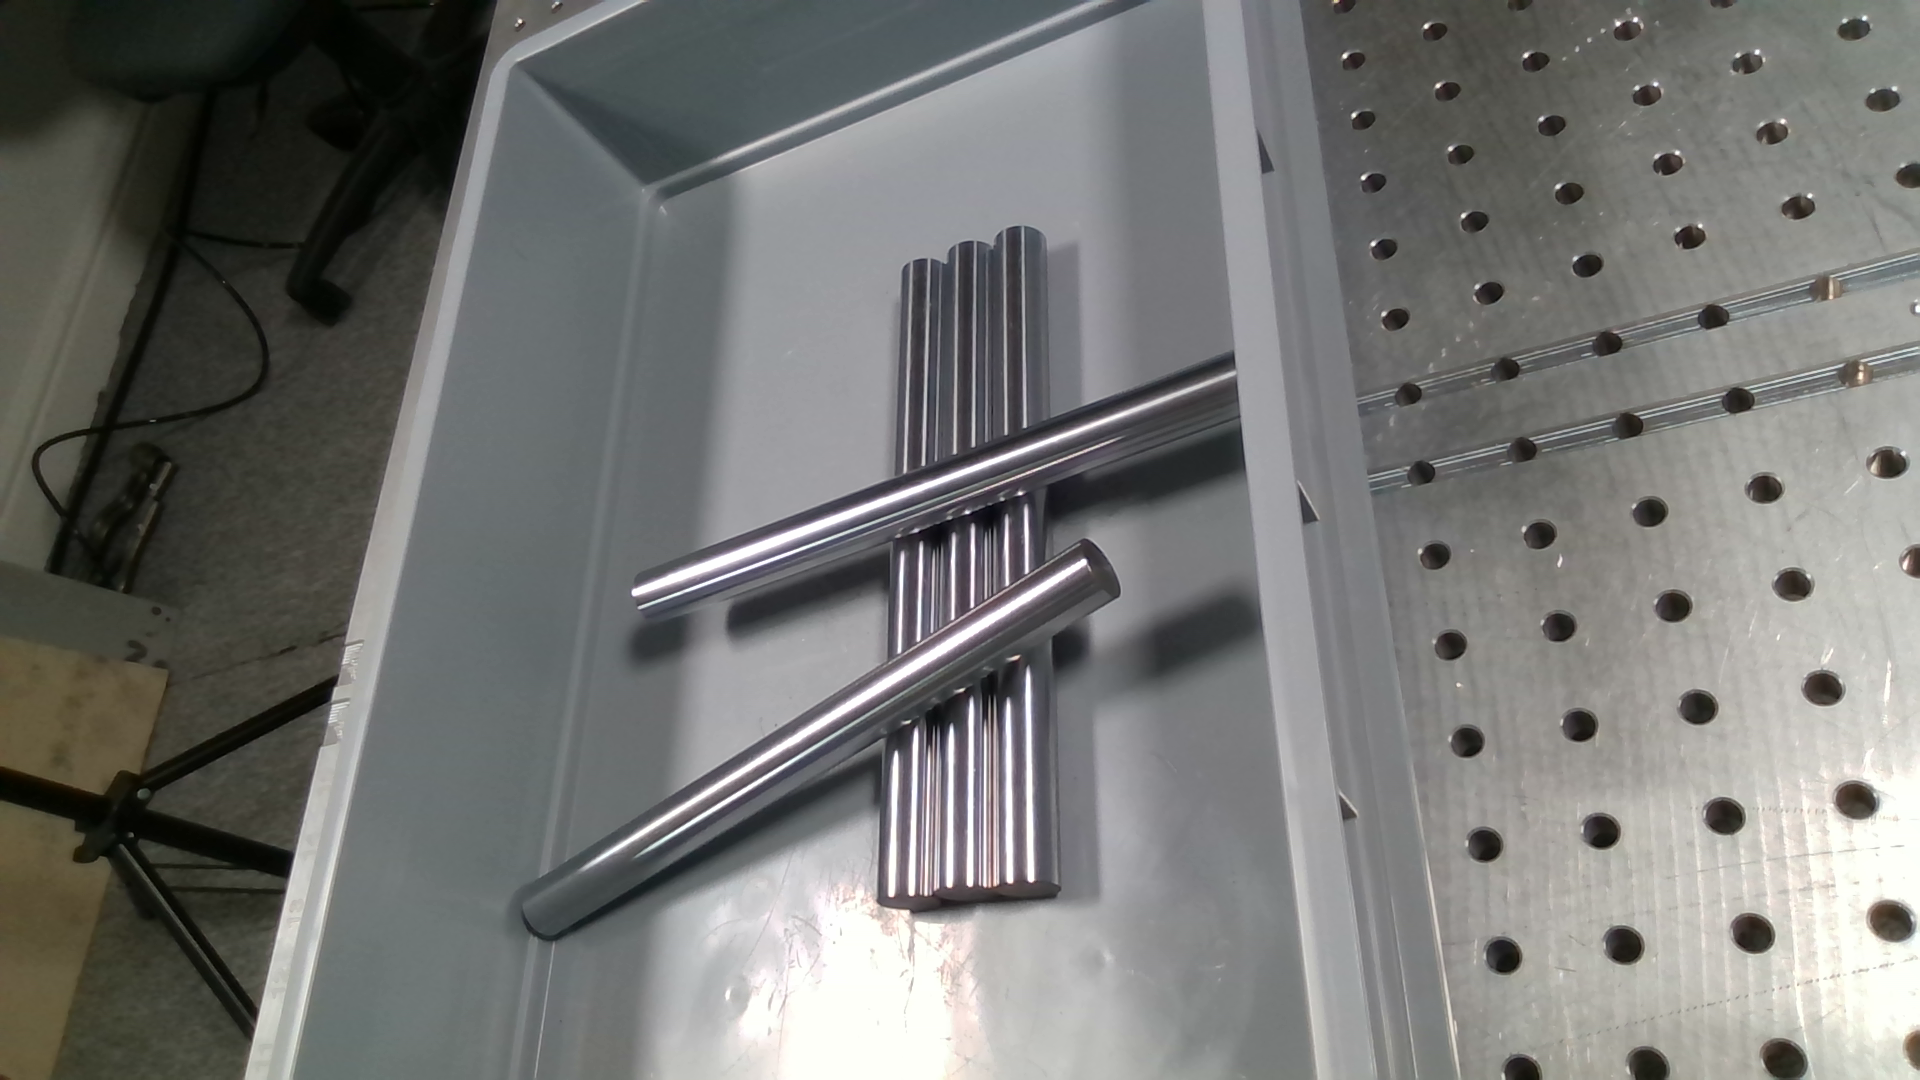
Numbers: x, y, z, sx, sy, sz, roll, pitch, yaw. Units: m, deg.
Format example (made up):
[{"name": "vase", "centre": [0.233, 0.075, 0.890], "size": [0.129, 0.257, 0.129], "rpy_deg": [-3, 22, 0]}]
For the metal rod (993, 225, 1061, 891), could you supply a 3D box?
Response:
[{"name": "metal rod", "centre": [0.026, -0.006, 0.571], "size": [0.025, 0.025, 0.299], "rpy_deg": [-14, 59, 25]}]

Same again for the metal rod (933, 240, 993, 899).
[{"name": "metal rod", "centre": [0.004, -0.001, 0.583], "size": [0.025, 0.025, 0.299], "rpy_deg": [-14, 59, 25]}]

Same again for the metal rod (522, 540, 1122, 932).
[{"name": "metal rod", "centre": [-0.066, 0.086, 0.553], "size": [0.300, 0.025, 0.025], "rpy_deg": [-33, 52, 22]}]

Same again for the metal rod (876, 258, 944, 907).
[{"name": "metal rod", "centre": [-0.018, 0.005, 0.593], "size": [0.025, 0.025, 0.299], "rpy_deg": [-14, 59, 25]}]

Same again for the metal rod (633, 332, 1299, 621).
[{"name": "metal rod", "centre": [-0.009, -0.020, 0.568], "size": [0.300, 0.025, 0.025], "rpy_deg": [-19, 57, 22]}]
